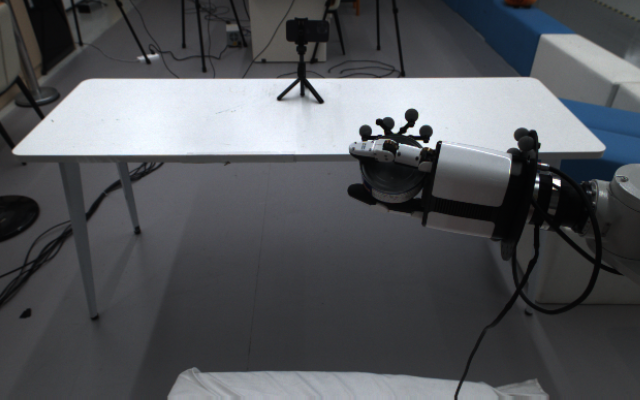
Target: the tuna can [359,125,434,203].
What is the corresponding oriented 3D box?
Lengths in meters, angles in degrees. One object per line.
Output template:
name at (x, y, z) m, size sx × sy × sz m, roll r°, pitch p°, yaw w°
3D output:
tuna can at (0.094, -0.041, 0.621) m, size 0.085 × 0.034 × 0.085 m, roll -4°, pitch 61°, yaw 7°
